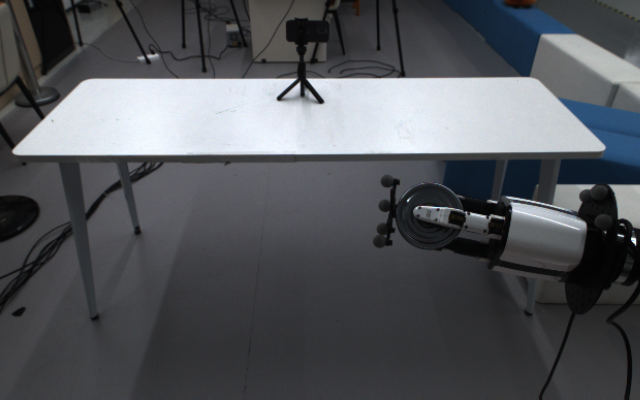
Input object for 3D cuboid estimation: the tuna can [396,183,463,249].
[{"bbox_3d":[0.144,0.019,0.622,0.085,0.085,0.034,9,-7,10],"label":"tuna can"}]
